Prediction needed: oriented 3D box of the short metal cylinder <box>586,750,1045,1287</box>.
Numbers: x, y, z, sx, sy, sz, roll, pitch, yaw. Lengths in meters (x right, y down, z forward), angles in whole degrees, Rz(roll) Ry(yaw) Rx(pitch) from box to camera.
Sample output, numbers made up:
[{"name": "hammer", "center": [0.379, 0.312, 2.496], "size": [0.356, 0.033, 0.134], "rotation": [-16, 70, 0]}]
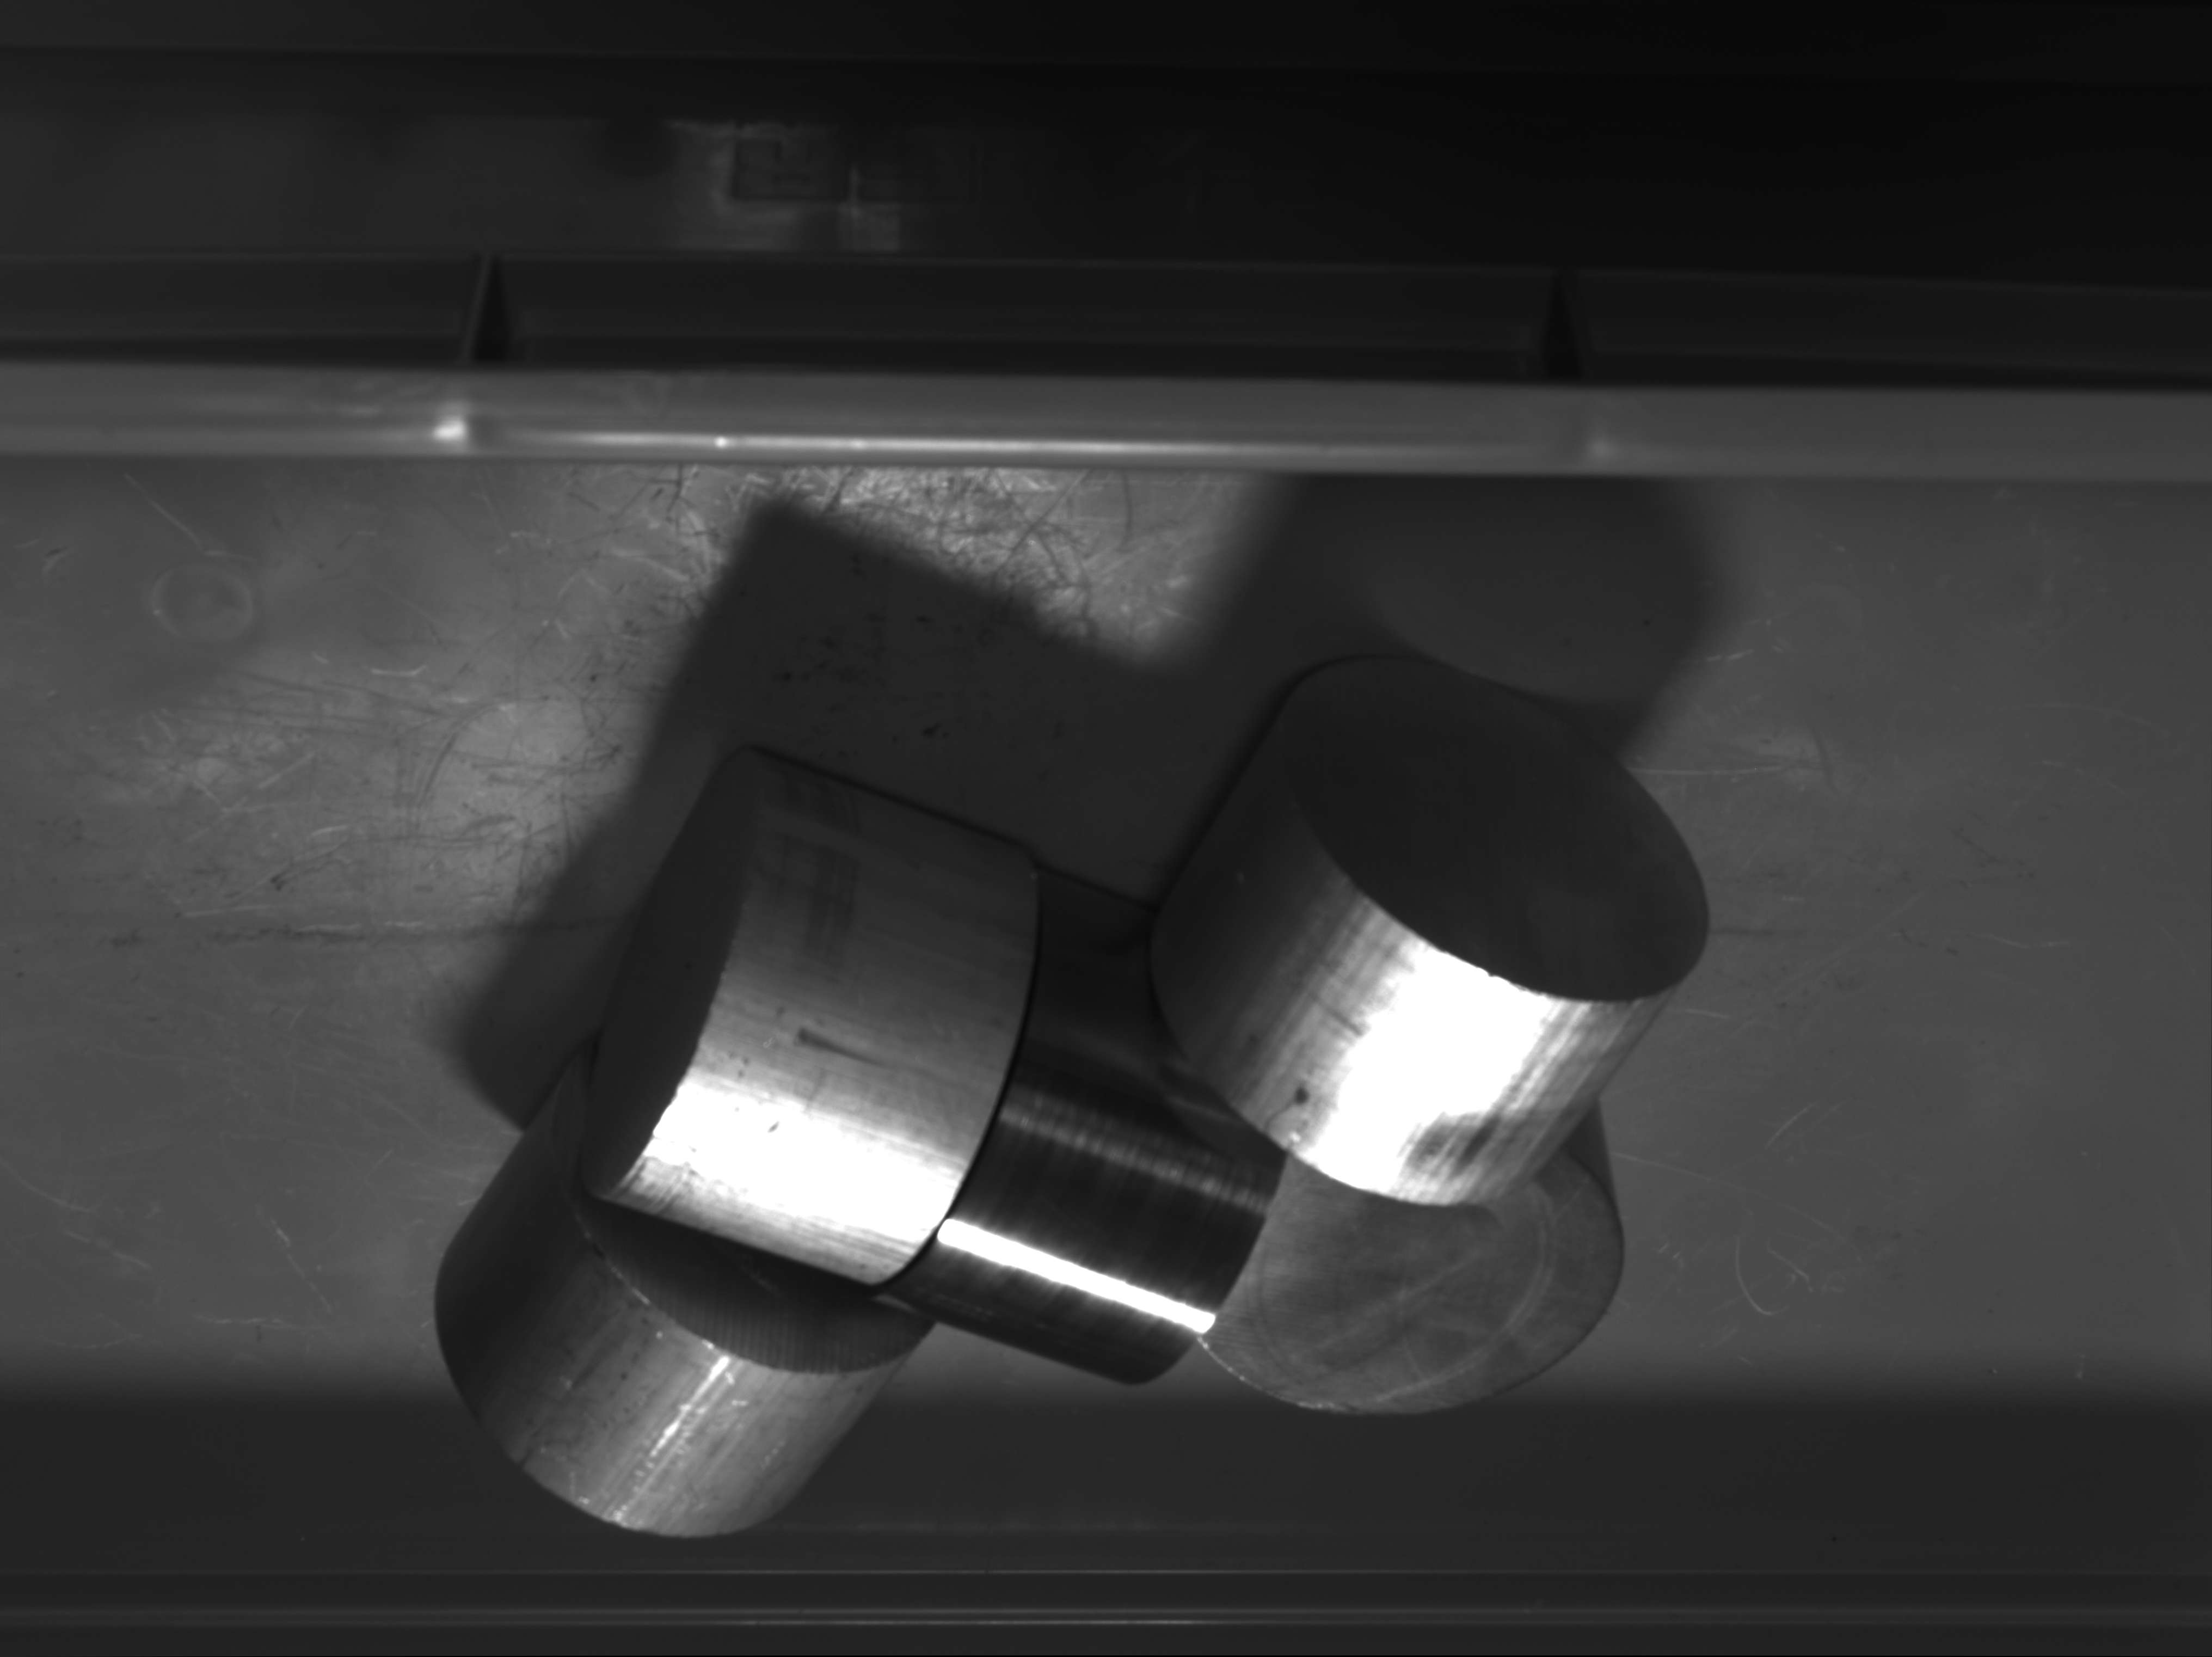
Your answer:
[{"name": "short metal cylinder", "center": [-0.050, 0.033, 0.626], "size": [0.050, 0.080, 0.080], "rotation": [20, 126, -18]}]

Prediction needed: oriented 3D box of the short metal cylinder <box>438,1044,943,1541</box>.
[{"name": "short metal cylinder", "center": [-0.074, 0.082, 0.667], "size": [0.080, 0.080, 0.050], "rotation": [24, 125, -20]}]

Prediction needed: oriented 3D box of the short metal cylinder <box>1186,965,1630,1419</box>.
[{"name": "short metal cylinder", "center": [0.053, 0.063, 0.675], "size": [0.080, 0.050, 0.080], "rotation": [-1, 130, -1]}]

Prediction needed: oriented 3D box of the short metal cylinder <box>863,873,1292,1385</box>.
[{"name": "short metal cylinder", "center": [-0.006, 0.052, 0.645], "size": [0.050, 0.080, 0.080], "rotation": [21, 126, -18]}]

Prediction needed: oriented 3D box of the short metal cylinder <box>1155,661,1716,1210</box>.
[{"name": "short metal cylinder", "center": [0.055, 0.017, 0.617], "size": [0.080, 0.080, 0.050], "rotation": [18, 127, -16]}]
